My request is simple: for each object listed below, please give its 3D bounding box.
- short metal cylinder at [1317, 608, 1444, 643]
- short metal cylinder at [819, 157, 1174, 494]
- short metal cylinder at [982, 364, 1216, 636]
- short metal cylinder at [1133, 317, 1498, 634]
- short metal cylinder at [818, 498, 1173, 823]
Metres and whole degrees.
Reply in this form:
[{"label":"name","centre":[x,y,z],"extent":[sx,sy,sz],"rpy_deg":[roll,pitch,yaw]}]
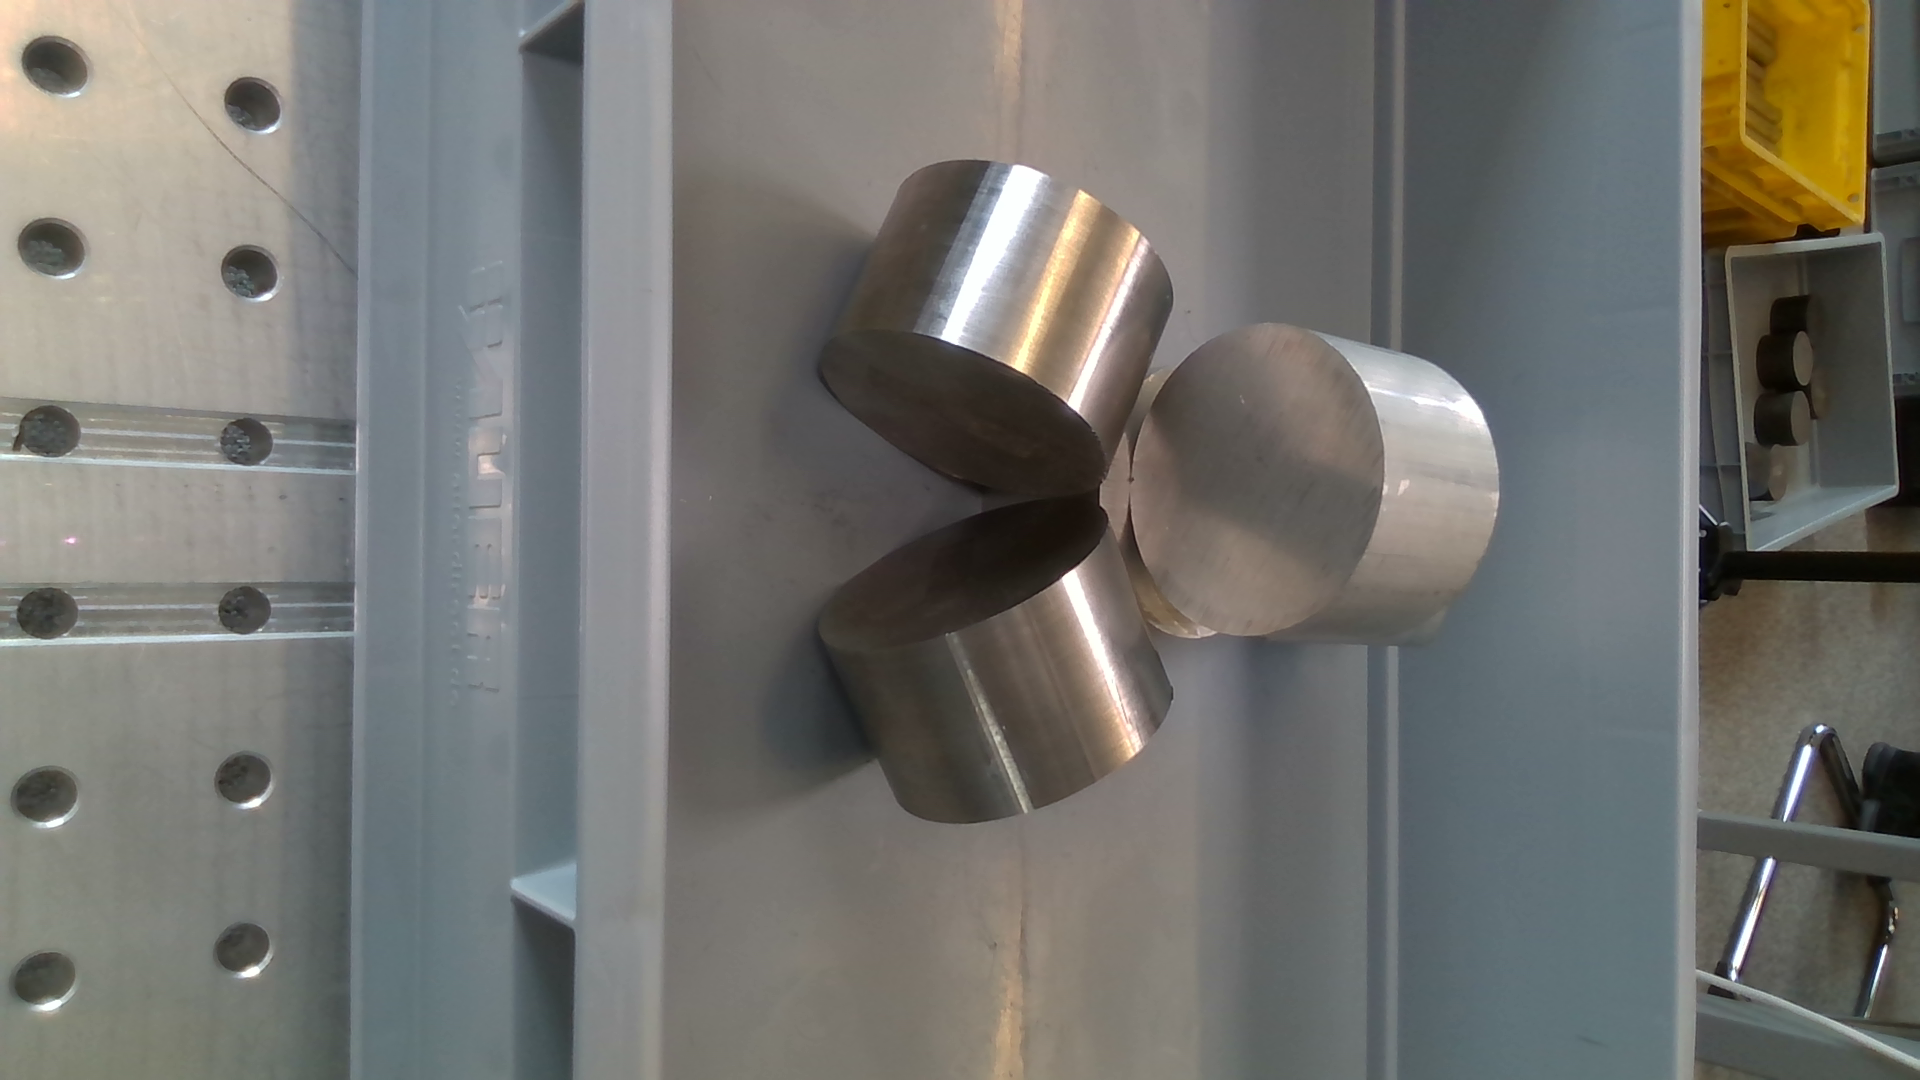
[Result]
[{"label":"short metal cylinder","centre":[0.126,-0.007,0.452],"extent":[0.050,0.080,0.080],"rpy_deg":[3,88,2]},{"label":"short metal cylinder","centre":[0.010,-0.054,0.362],"extent":[0.080,0.080,0.050],"rpy_deg":[36,67,-34]},{"label":"short metal cylinder","centre":[0.053,-0.012,0.417],"extent":[0.080,0.050,0.080],"rpy_deg":[0,90,-40]},{"label":"short metal cylinder","centre":[0.093,-0.015,0.366],"extent":[0.050,0.080,0.080],"rpy_deg":[4,87,-40]},{"label":"short metal cylinder","centre":[0.010,0.030,0.362],"extent":[0.080,0.080,0.050],"rpy_deg":[-36,111,-34]}]
